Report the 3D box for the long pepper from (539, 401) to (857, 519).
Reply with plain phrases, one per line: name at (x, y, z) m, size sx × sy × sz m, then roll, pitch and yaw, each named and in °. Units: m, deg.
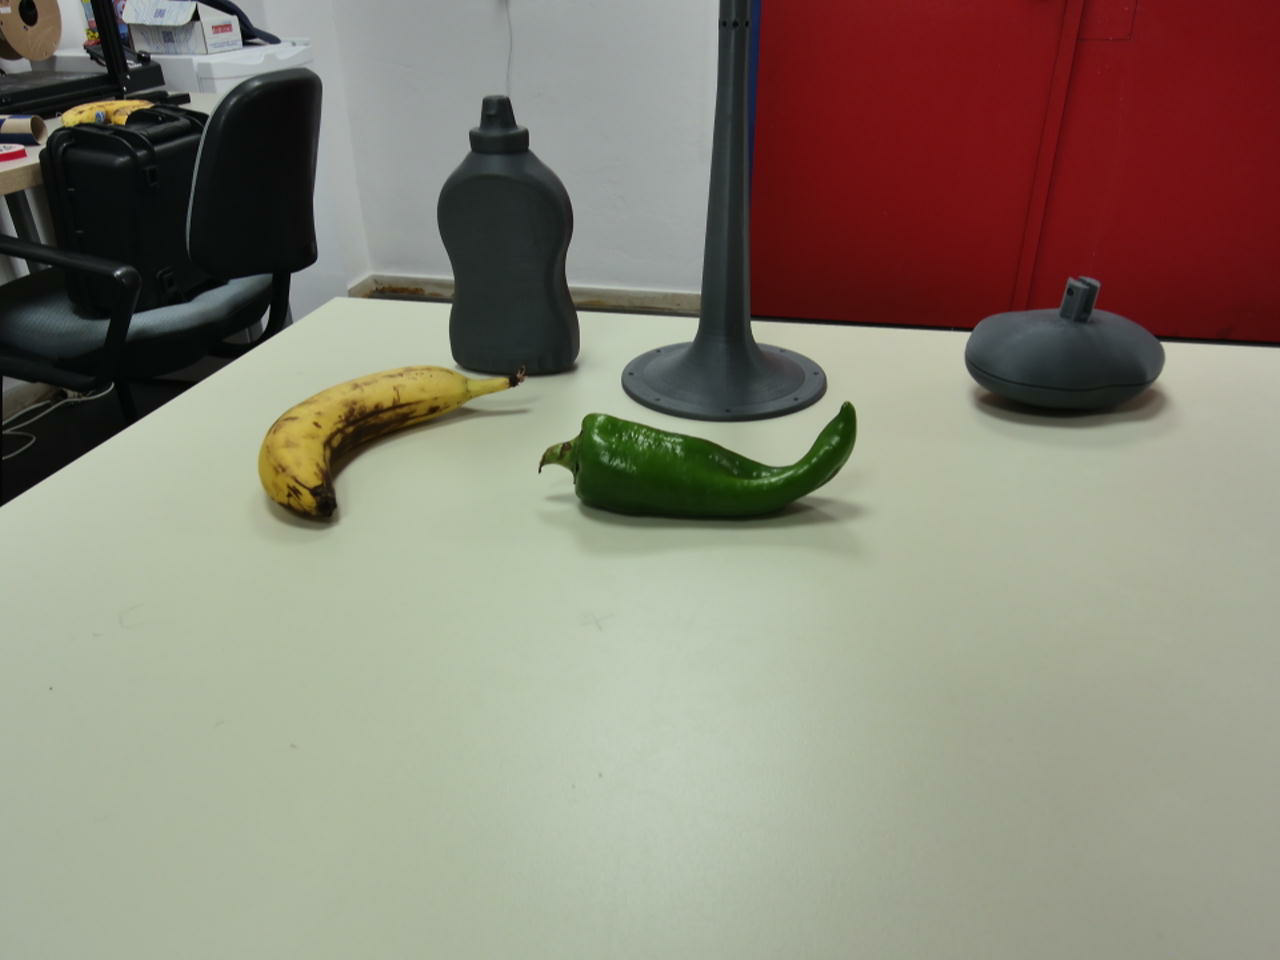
long pepper at (0.029, -0.014, 0.549) m, size 0.175 × 0.065 × 0.058 m, roll 4°, pitch 26°, yaw 10°
